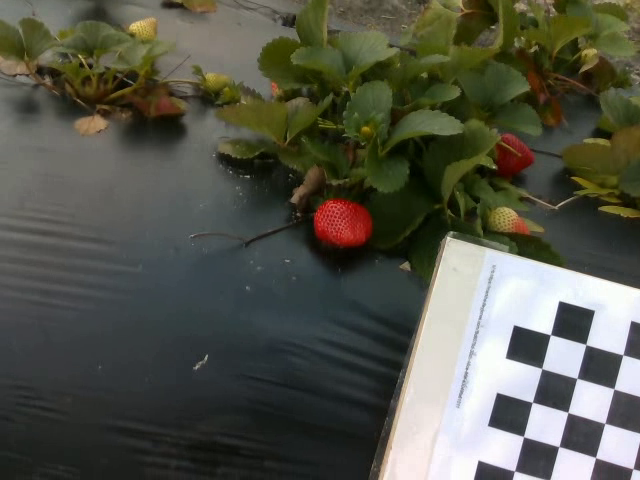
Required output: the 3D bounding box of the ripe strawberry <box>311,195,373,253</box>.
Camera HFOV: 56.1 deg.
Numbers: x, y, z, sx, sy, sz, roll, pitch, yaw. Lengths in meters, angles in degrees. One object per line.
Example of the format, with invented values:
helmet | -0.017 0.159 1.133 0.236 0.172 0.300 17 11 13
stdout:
ripe strawberry | 0.011 -0.009 0.349 0.037 0.037 0.046 -30 32 6
